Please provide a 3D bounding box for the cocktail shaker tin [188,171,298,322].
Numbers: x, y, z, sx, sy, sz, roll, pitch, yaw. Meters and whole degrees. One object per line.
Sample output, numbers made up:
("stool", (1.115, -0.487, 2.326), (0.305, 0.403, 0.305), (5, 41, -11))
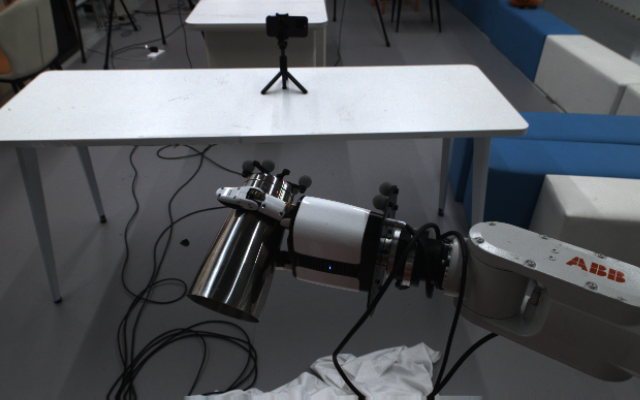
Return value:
("cocktail shaker tin", (-0.086, 0.052, 0.600), (0.093, 0.093, 0.170), (12, 65, 14))
